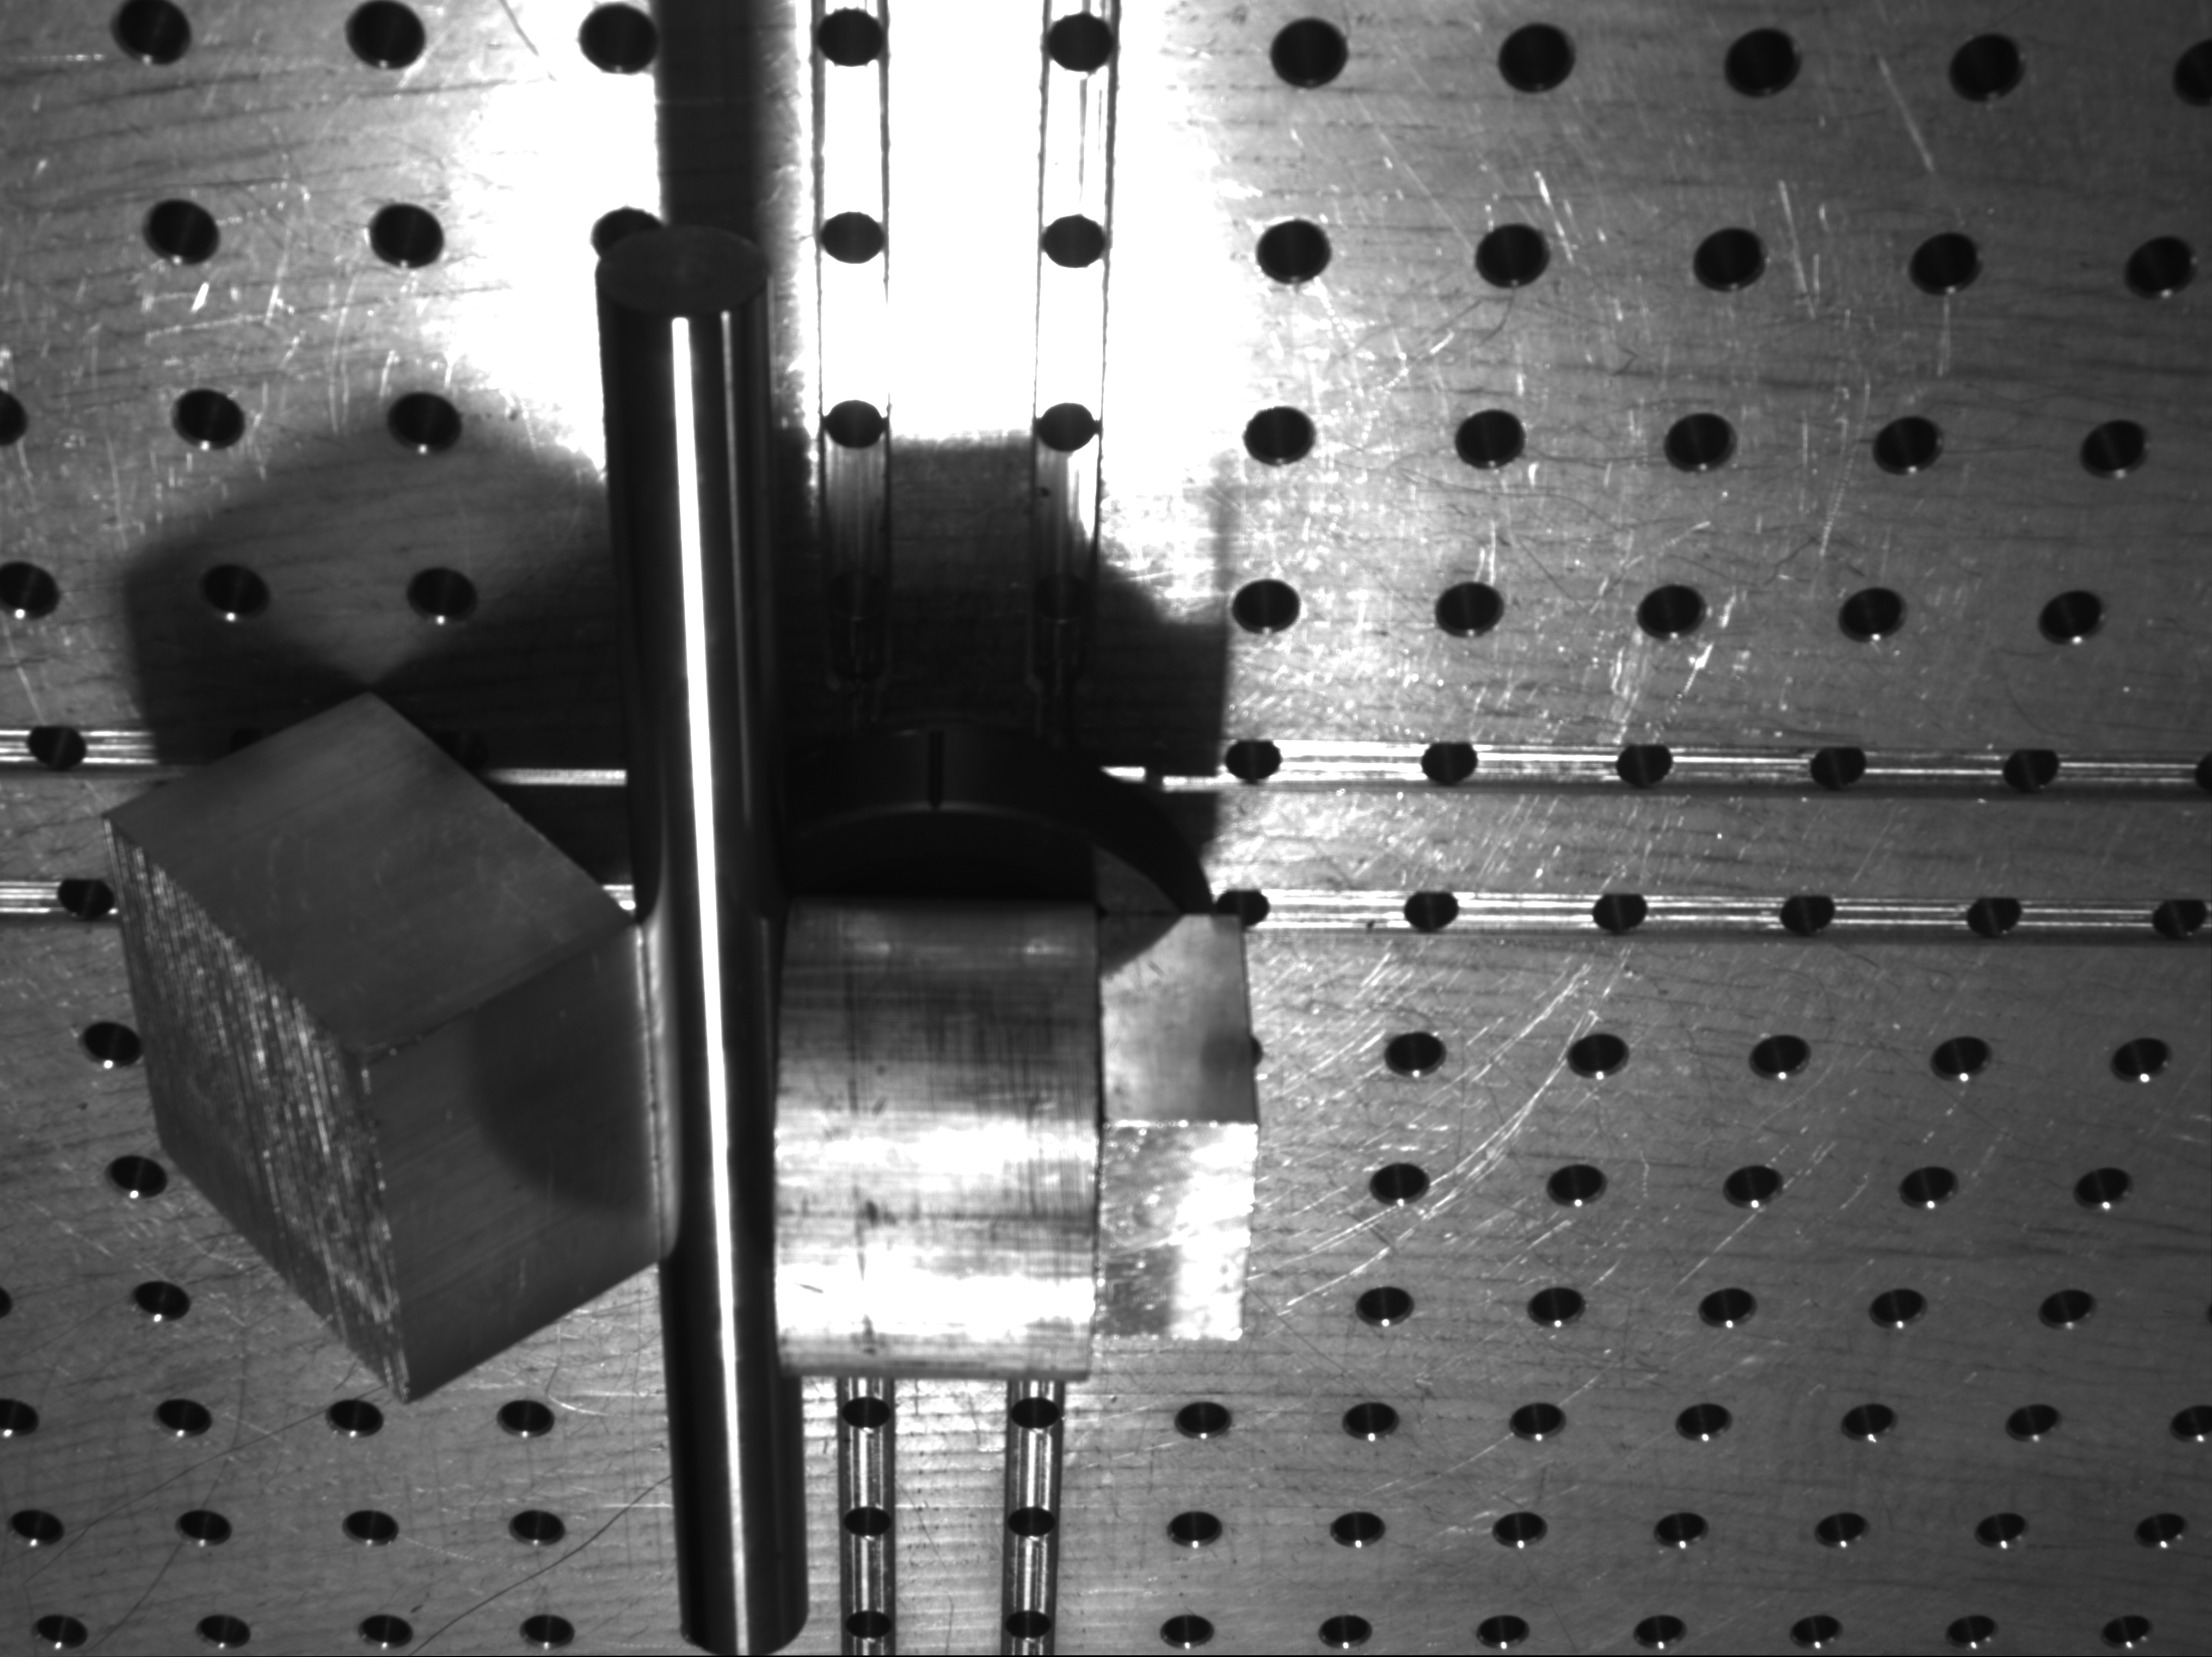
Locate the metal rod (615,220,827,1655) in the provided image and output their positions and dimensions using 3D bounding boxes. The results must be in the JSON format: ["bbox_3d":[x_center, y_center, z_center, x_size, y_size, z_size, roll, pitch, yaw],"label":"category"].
[{"bbox_3d":[-0.062,0.035,0.615,0.025,0.025,0.300,1,130,-2],"label":"metal rod"}]

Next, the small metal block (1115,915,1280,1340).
[{"bbox_3d":[0.013,0.050,0.612,0.025,0.050,0.050,1,130,-2],"label":"small metal block"}]

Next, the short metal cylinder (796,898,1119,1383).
[{"bbox_3d":[-0.024,0.052,0.609,0.050,0.080,0.080,1,130,-2],"label":"short metal cylinder"}]

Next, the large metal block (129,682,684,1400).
[{"bbox_3d":[-0.118,0.035,0.624,0.050,0.080,0.080,-29,139,-32],"label":"large metal block"}]

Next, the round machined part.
[{"bbox_3d":[-0.025,0.021,0.646,0.098,0.042,0.098,-1,130,-1],"label":"round machined part"}]
